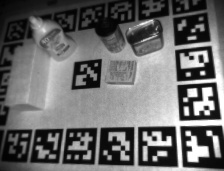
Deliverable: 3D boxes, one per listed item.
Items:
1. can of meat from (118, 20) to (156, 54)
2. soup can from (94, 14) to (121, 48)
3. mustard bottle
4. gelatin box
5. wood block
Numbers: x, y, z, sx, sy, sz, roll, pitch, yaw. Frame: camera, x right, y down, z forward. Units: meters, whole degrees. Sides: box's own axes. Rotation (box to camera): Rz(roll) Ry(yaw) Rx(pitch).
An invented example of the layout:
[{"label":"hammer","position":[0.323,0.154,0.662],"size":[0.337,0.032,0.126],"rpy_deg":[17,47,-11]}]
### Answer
[{"label":"can of meat","position":[0.080,-0.146,0.649],"size":[0.101,0.084,0.057],"rpy_deg":[-18,68,10]},{"label":"soup can","position":[-0.018,-0.165,0.667],"size":[0.067,0.103,0.068],"rpy_deg":[-6,72,18]},{"label":"mustard bottle","position":[-0.212,-0.153,0.691],"size":[0.096,0.193,0.058],"rpy_deg":[-29,64,6]},{"label":"gelatin box","position":[0.011,-0.044,0.661],"size":[0.088,0.030,0.073],"rpy_deg":[5,76,22]},{"label":"wood block","position":[-0.294,-0.031,0.728],"size":[0.090,0.091,0.205],"rpy_deg":[-3,67,16]}]
